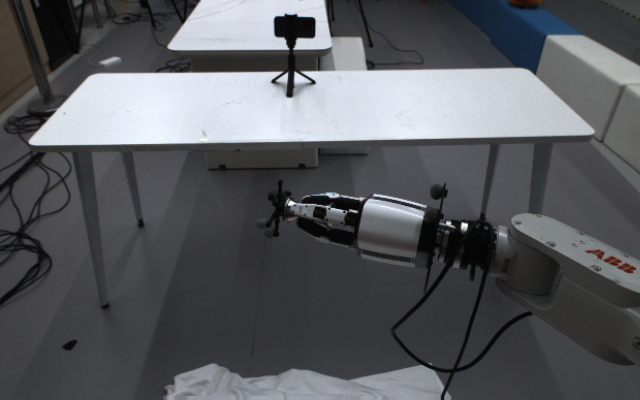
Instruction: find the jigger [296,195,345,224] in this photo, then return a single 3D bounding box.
[{"bbox_3d":[-0.009,0.015,0.722,0.071,0.043,0.043,8,35,16],"label":"jigger"}]
